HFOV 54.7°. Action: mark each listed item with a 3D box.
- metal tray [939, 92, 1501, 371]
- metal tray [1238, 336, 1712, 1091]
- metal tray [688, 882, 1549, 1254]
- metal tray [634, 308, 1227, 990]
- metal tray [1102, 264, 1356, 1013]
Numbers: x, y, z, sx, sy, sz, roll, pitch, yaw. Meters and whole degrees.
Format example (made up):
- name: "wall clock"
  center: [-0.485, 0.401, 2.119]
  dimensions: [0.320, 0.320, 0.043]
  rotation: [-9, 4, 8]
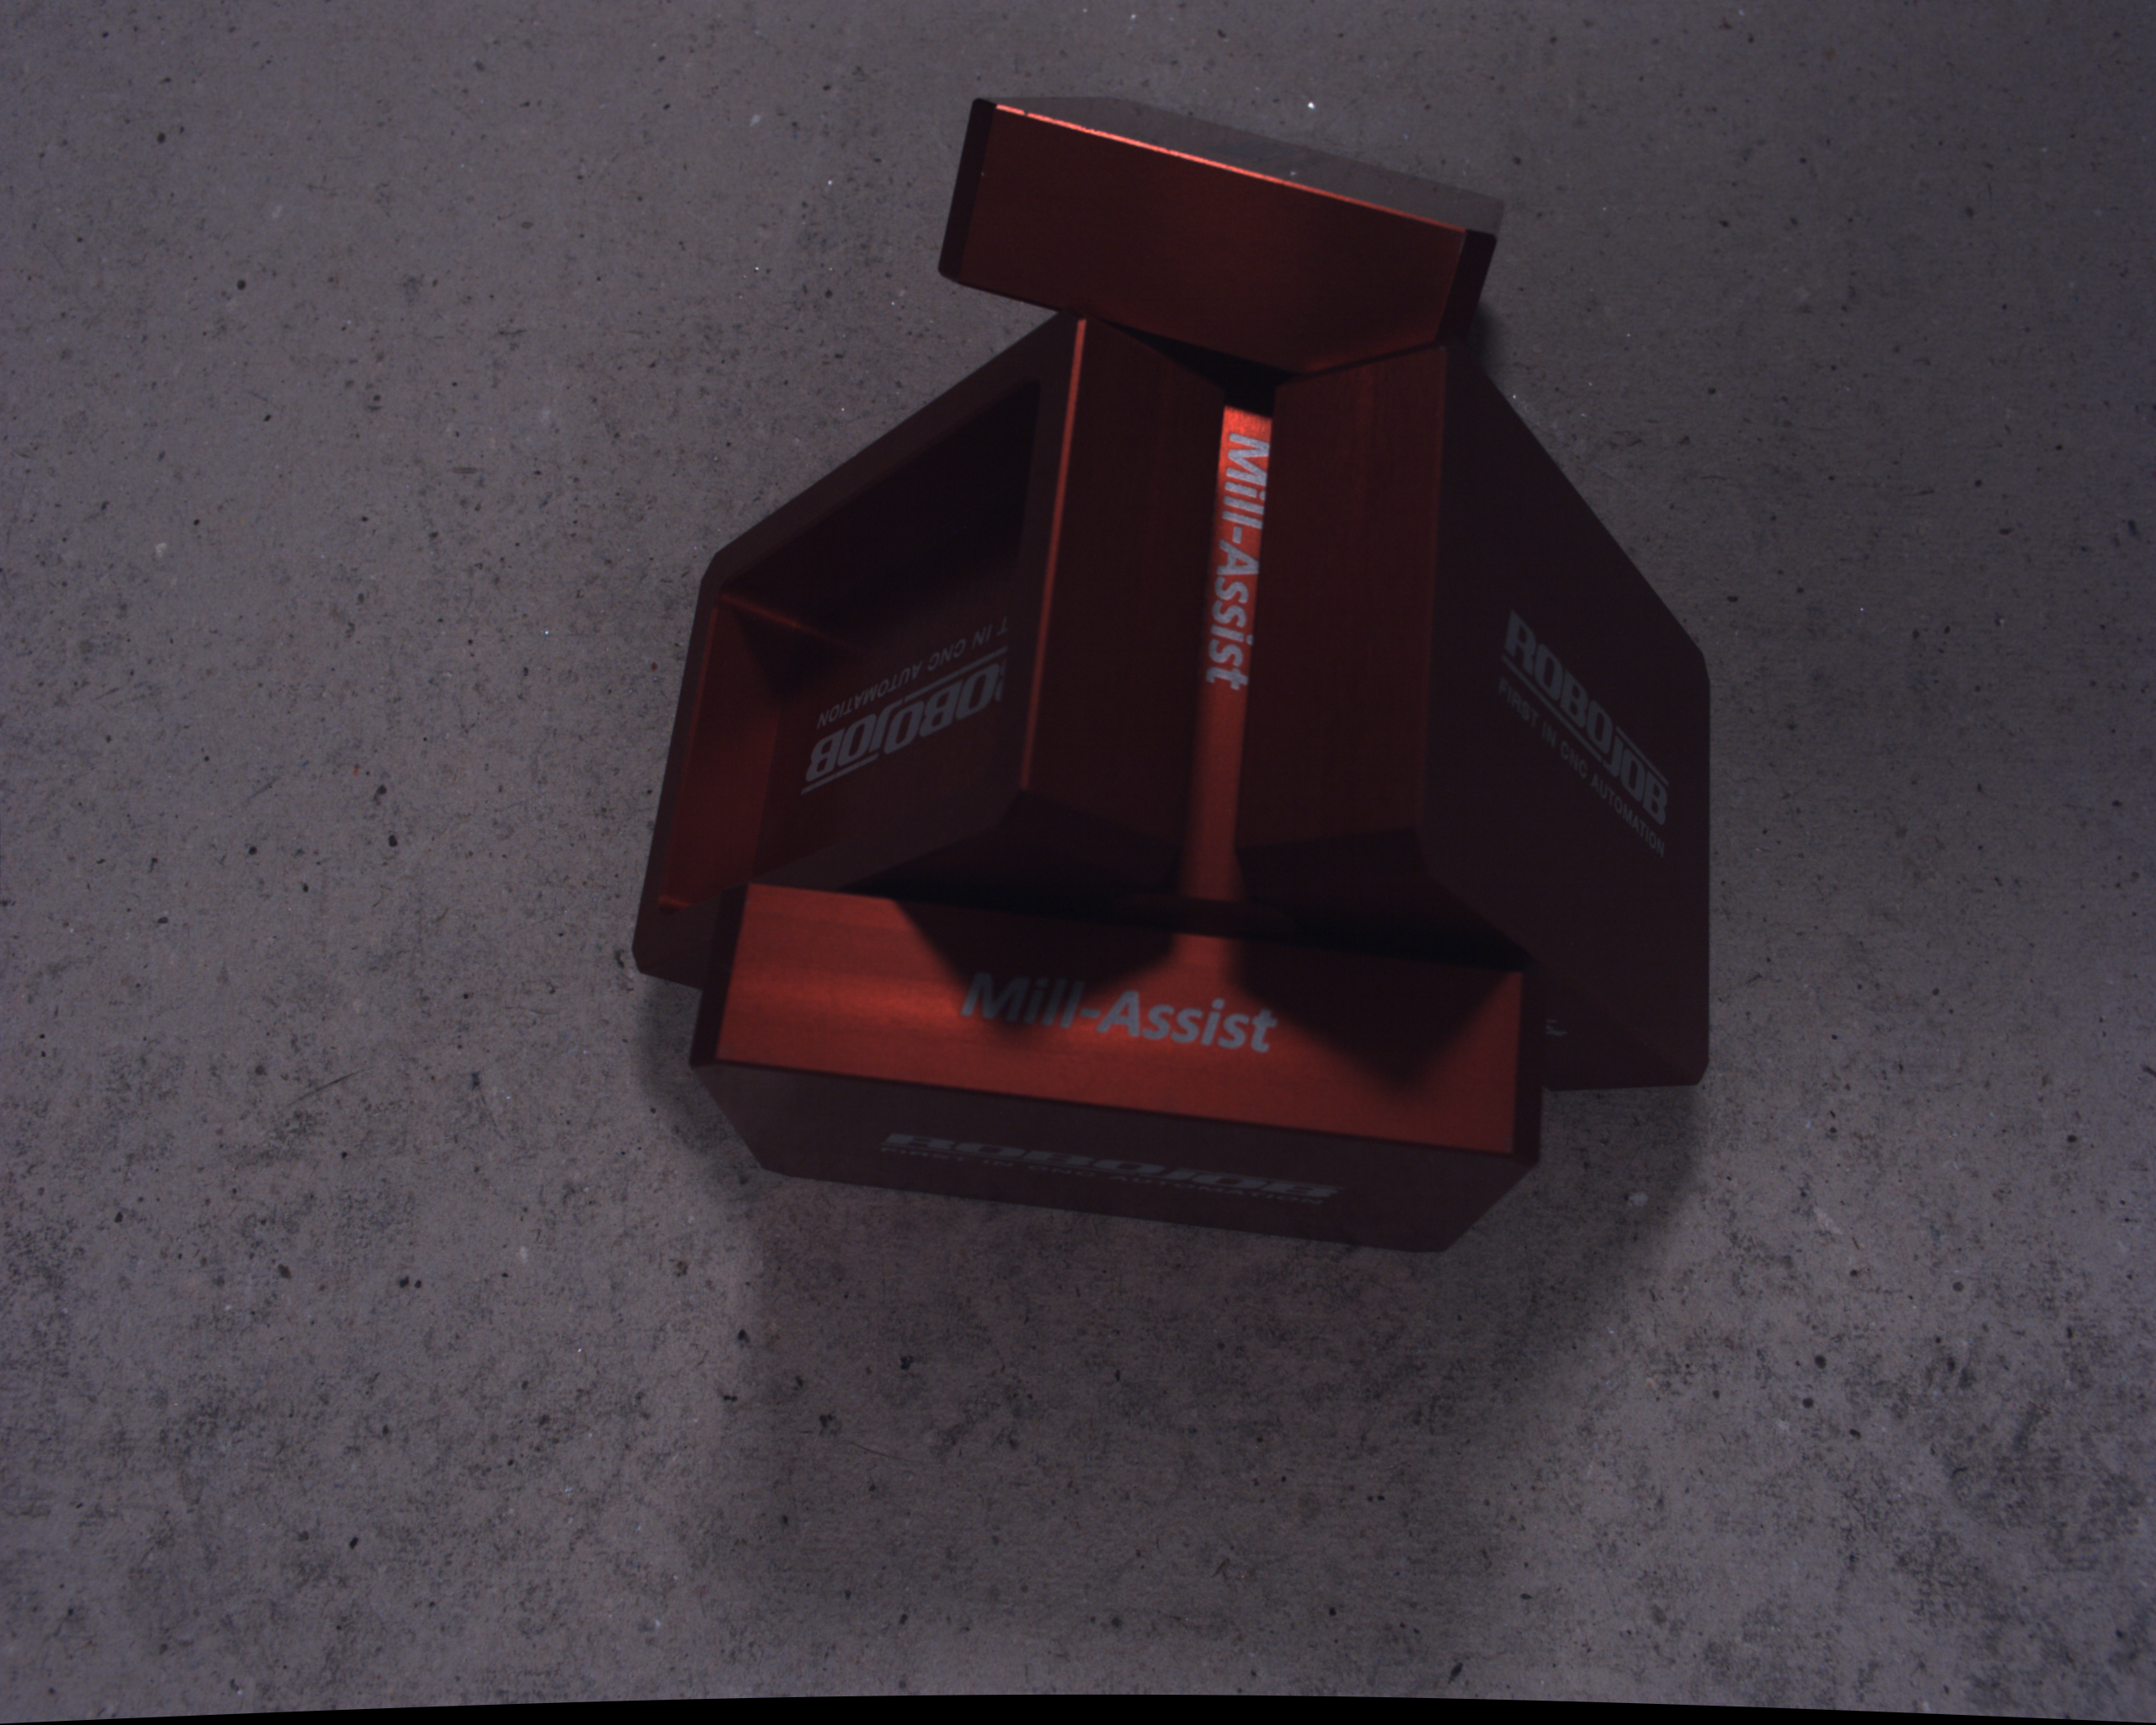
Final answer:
- name: "metal tray"
  center: [0.034, -0.123, 0.406]
  dimensions: [0.090, 0.130, 0.030]
  rotation: [17, 112, 5]
- name: "metal tray"
  center: [0.076, -0.019, 0.364]
  dimensions: [0.030, 0.130, 0.090]
  rotation: [-7, 67, 33]
- name: "metal tray"
  center: [0.007, 0.039, 0.360]
  dimensions: [0.131, 0.090, 0.030]
  rotation: [7, 70, 2]
- name: "metal tray"
  center: [-0.030, -0.029, 0.368]
  dimensions: [0.030, 0.130, 0.090]
  rotation: [20, 66, -32]
- name: "metal tray"
  center: [0.026, -0.036, 0.388]
  dimensions: [0.030, 0.090, 0.130]
  rotation: [7, 70, 2]
